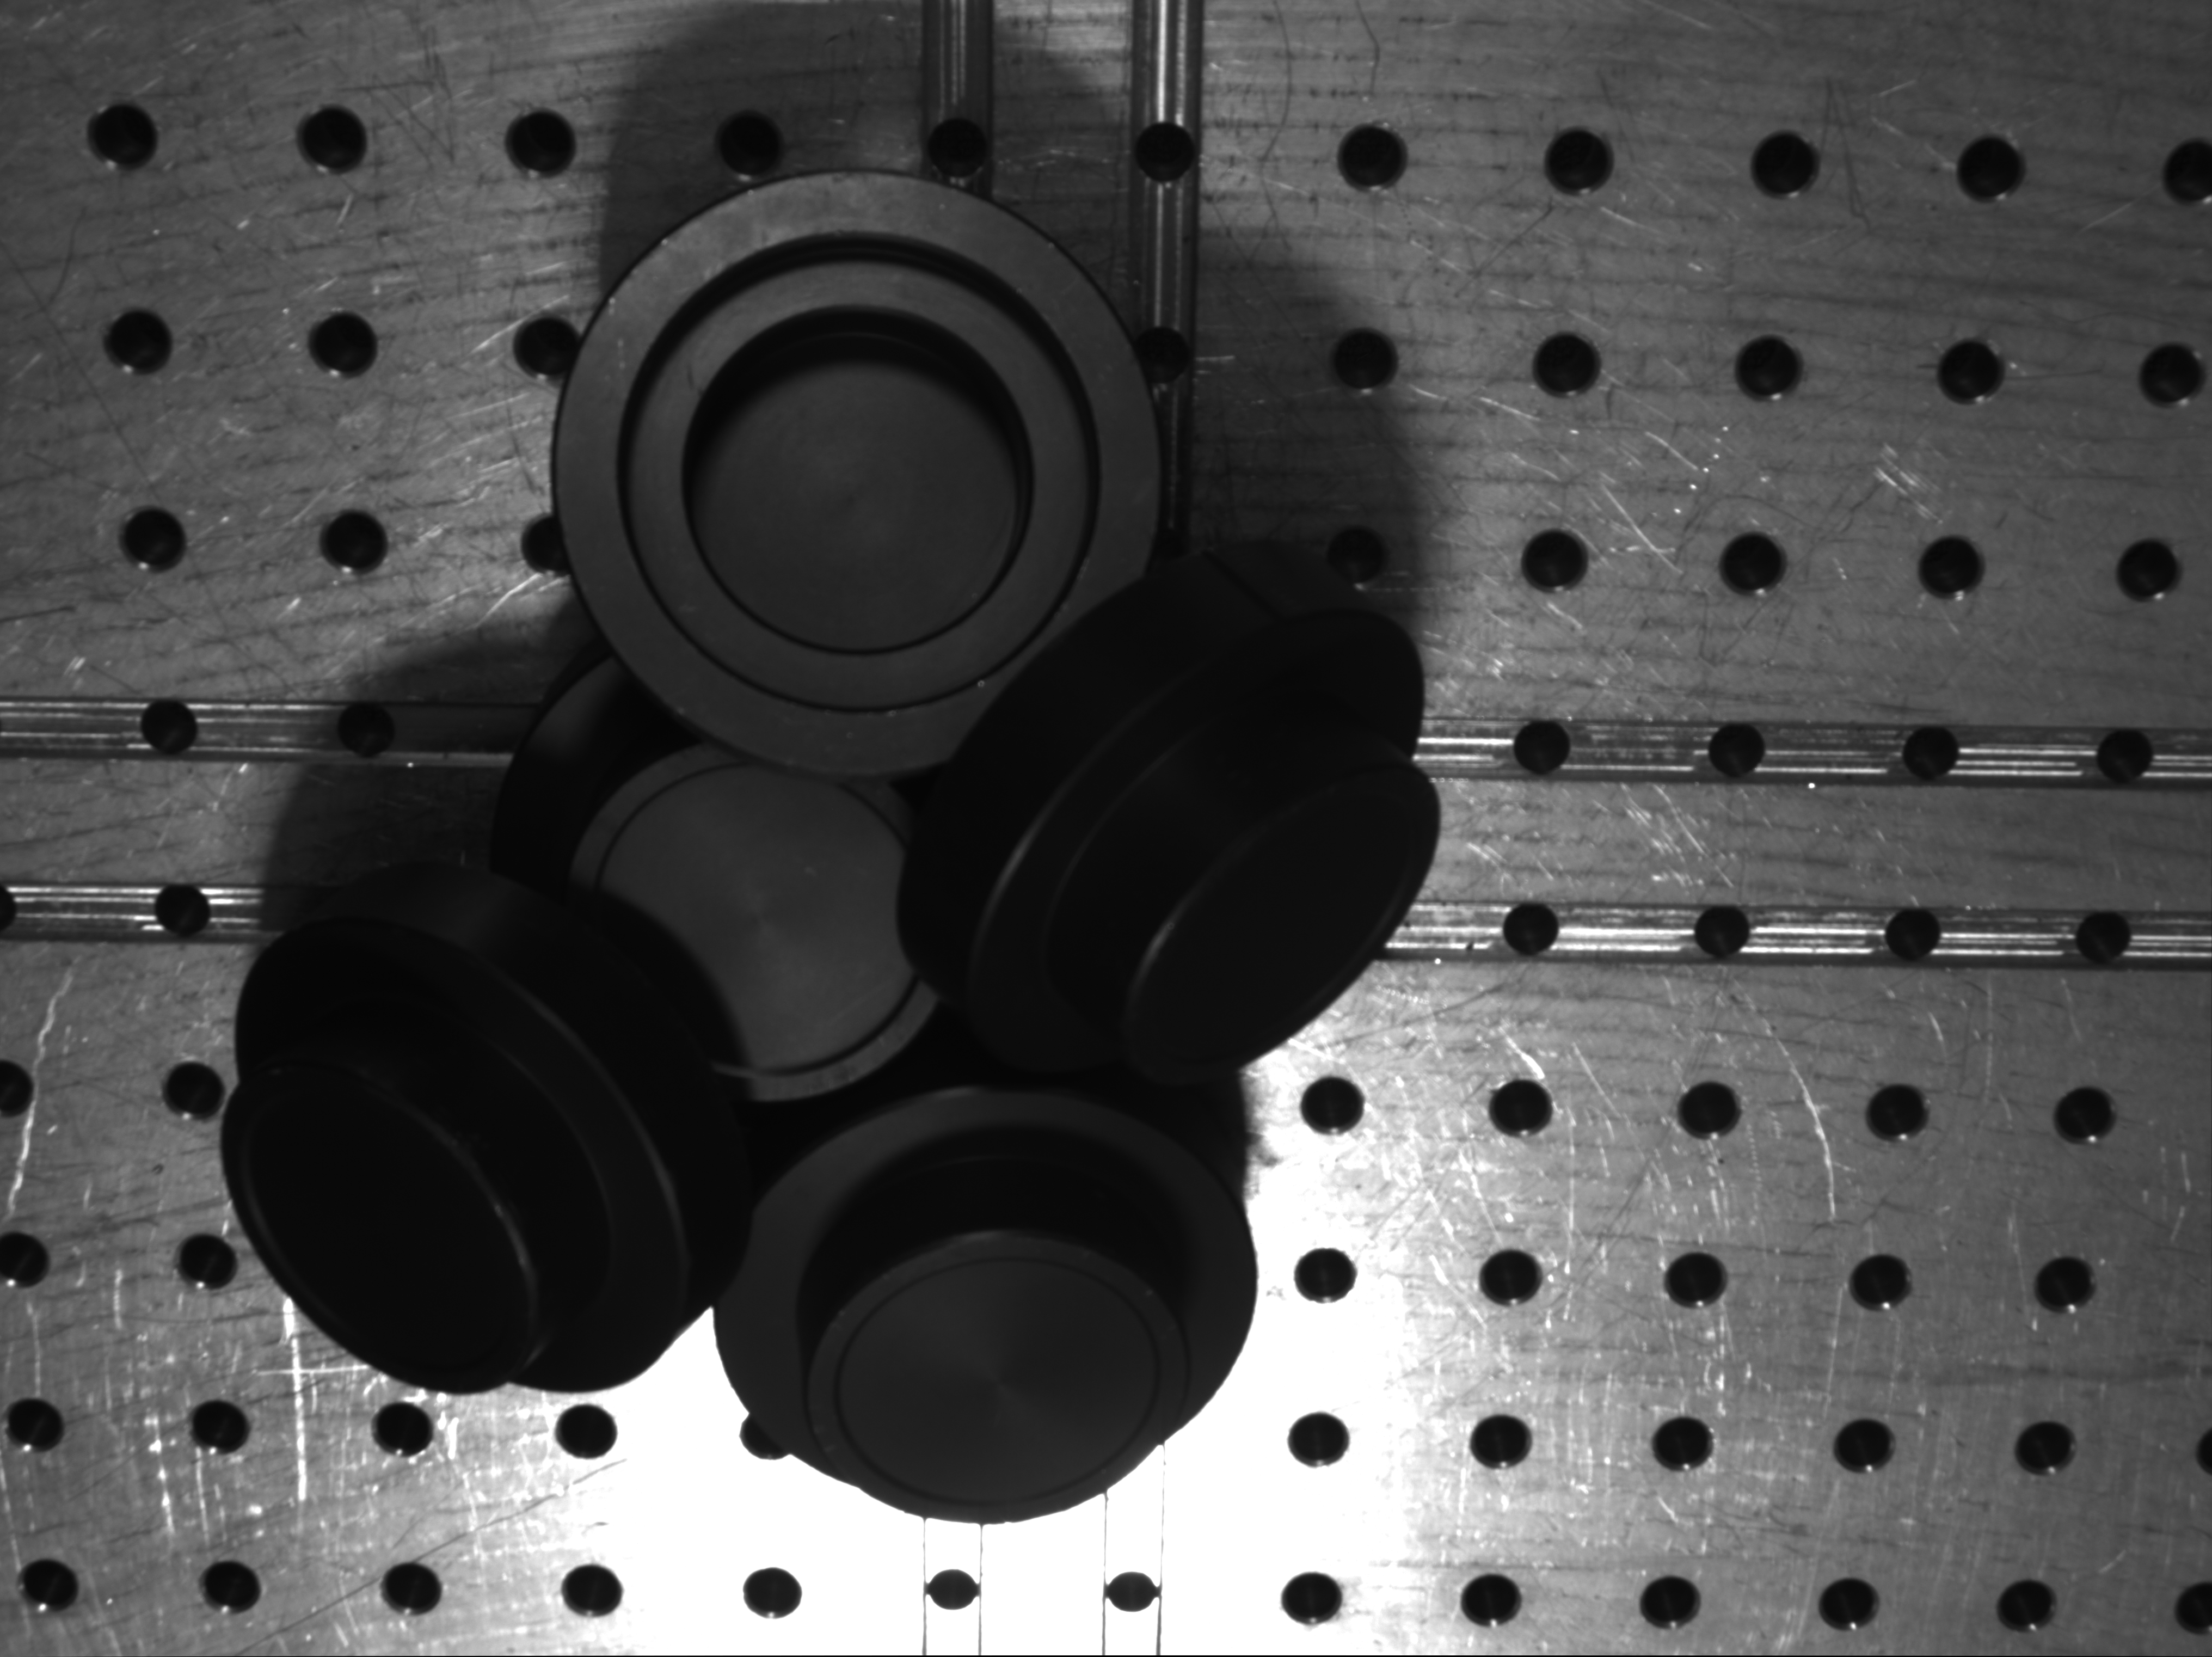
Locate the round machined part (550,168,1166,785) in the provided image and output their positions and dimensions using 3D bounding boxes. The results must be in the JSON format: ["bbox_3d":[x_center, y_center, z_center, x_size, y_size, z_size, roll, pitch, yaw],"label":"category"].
[{"bbox_3d":[-0.041,-0.056,0.604,0.098,0.042,0.098,0,89,-6],"label":"round machined part"}]

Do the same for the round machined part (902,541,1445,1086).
[{"bbox_3d":[0.017,0.004,0.607,0.042,0.098,0.098,44,108,28],"label":"round machined part"}]

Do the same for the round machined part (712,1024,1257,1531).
[{"bbox_3d":[-0.021,0.086,0.654,0.098,0.042,0.098,-3,122,-5],"label":"round machined part"}]

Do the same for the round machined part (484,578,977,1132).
[{"bbox_3d":[-0.059,0.009,0.638,0.098,0.042,0.098,0,110,-1],"label":"round machined part"}]

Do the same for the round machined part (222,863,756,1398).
[{"bbox_3d":[-0.112,0.058,0.631,0.098,0.042,0.098,17,127,24],"label":"round machined part"}]
